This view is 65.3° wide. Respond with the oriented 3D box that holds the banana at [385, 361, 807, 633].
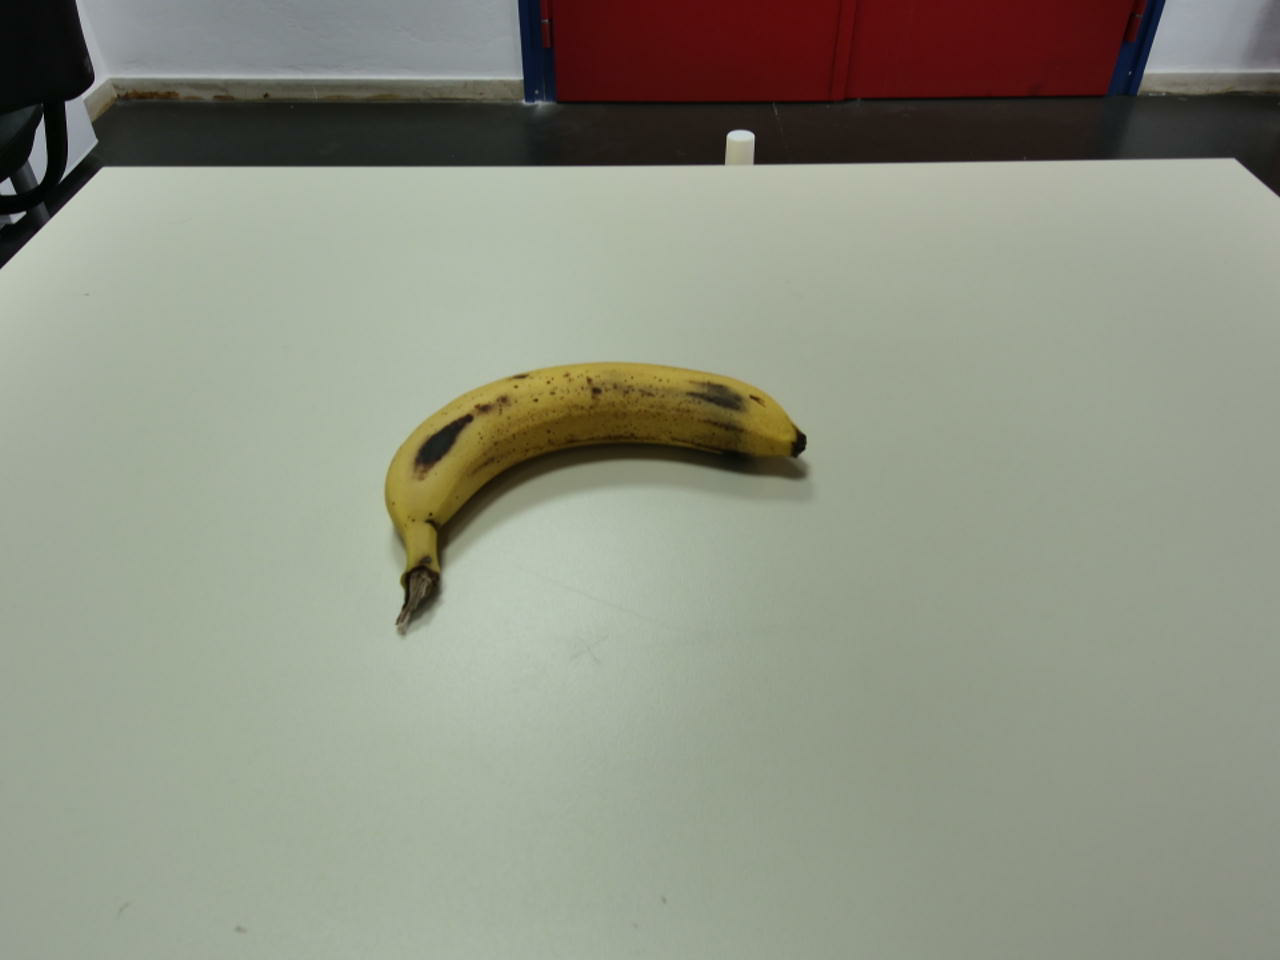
[{"bbox_3d":[-0.028,-0.016,0.440,0.186,0.038,0.097,-18,42,-22],"label":"banana"}]
